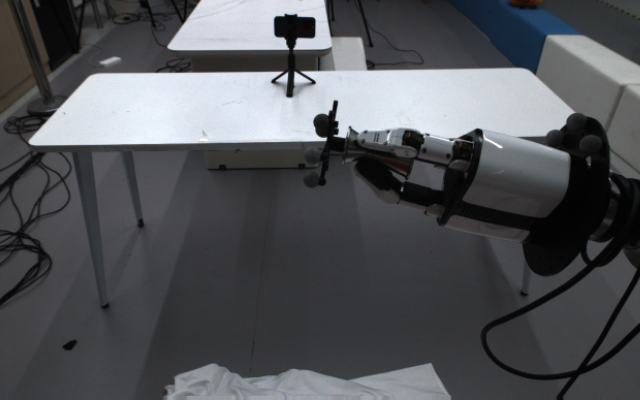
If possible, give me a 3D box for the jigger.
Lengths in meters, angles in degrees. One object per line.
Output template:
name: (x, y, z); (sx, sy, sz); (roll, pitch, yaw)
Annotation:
jigger: (0.063, -0.054, 0.489); (0.071, 0.043, 0.043); (11, 35, 3)
